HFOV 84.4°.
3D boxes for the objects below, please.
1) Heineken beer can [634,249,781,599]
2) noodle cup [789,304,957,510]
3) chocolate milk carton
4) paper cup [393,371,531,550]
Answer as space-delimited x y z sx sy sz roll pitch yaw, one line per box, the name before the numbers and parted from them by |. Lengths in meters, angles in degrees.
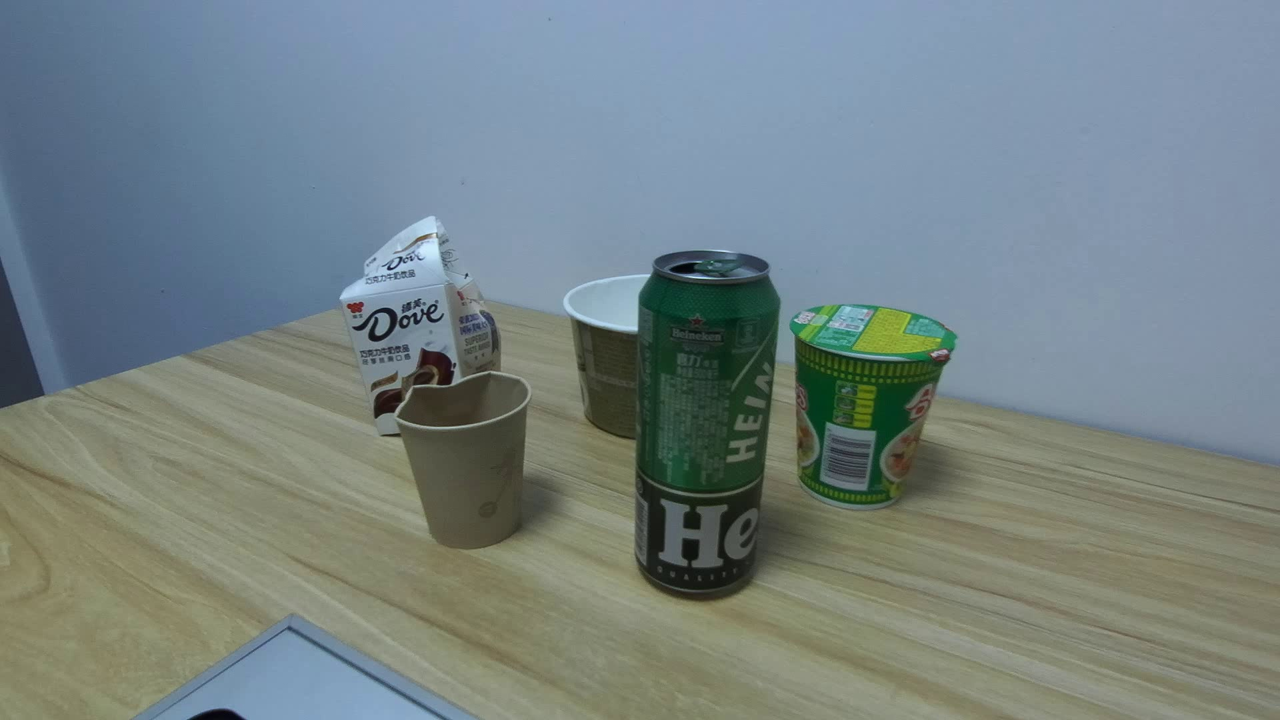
Heineken beer can | 0.032 0.035 0.357 0.067 0.169 0.067 1 20 0
noodle cup | 0.138 0.030 0.443 0.097 0.110 0.097 1 22 0
chocolate milk carton | -0.162 -0.024 0.528 0.089 0.155 0.076 -11 19 6
paper cup | -0.096 0.059 0.406 0.069 0.081 0.073 1 21 0
